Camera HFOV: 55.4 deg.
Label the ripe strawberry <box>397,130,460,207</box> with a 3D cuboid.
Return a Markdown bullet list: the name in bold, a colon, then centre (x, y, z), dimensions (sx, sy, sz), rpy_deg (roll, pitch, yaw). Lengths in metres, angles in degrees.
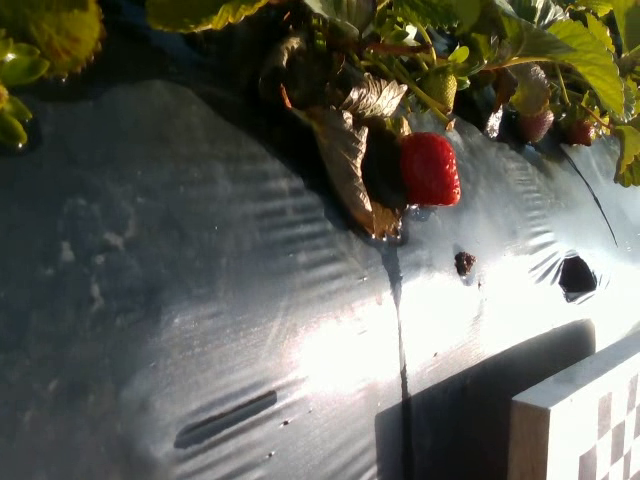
- **ripe strawberry**: centre (0.051, -0.023, 0.265), dimensions (0.037, 0.054, 0.046), rpy_deg (-41, -40, 20)
